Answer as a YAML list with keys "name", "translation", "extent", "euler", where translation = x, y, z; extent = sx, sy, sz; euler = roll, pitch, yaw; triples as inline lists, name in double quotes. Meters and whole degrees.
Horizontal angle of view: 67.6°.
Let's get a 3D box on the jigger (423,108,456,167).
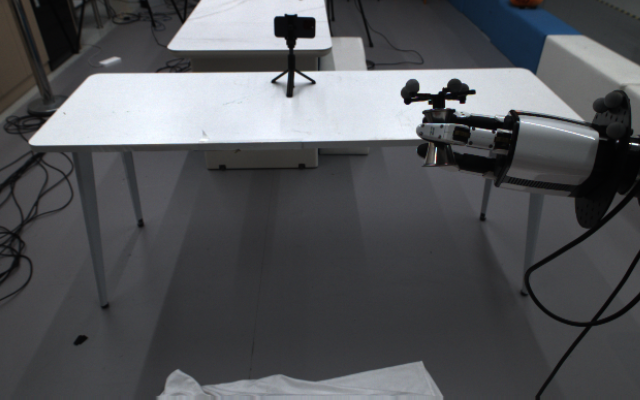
- name: "jigger"
  translation: [0.146, -0.076, 0.597]
  extent: [0.043, 0.071, 0.043]
  euler: [-2, 3, 0]
